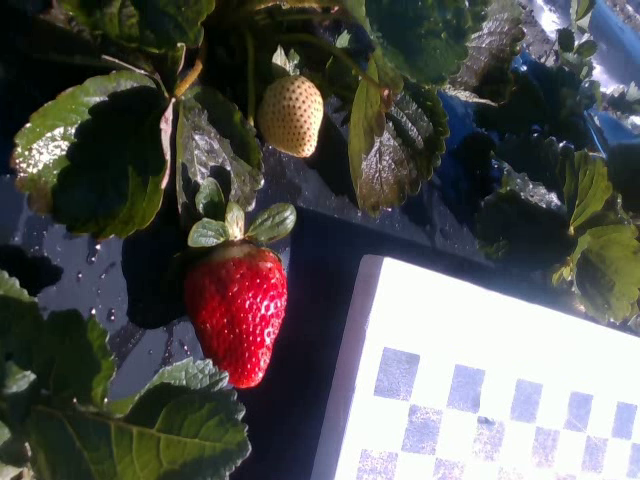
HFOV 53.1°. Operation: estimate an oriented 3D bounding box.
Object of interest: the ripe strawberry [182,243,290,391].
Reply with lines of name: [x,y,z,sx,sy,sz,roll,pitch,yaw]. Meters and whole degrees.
ripe strawberry: [-0.033,0.033,0.269,0.048,0.069,0.040,-4,-2,-30]
